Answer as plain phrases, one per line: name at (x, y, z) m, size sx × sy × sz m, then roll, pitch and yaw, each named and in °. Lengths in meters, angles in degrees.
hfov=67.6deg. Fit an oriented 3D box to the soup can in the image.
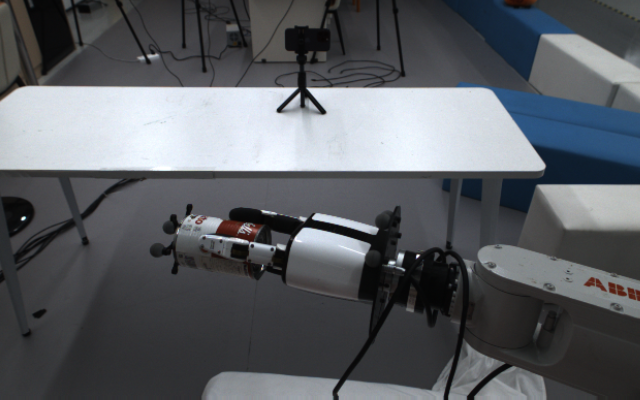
soup can at (-0.116, 0.057, 0.593) m, size 0.101 × 0.067 × 0.067 m, roll 8°, pitch 35°, yaw 11°
